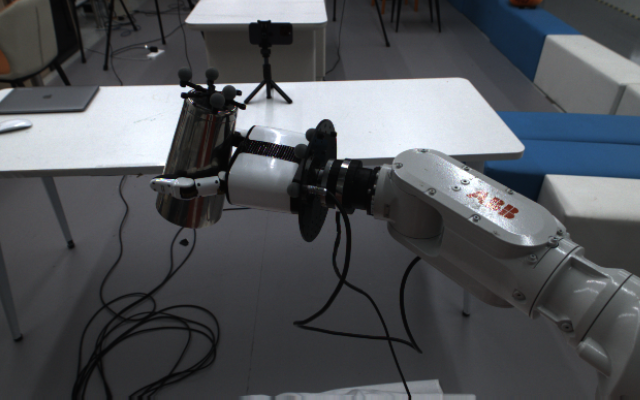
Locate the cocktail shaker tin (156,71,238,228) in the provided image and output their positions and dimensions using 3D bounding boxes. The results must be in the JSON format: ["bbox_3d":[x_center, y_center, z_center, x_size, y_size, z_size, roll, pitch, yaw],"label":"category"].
[{"bbox_3d":[-0.160,-0.059,0.644,0.093,0.170,0.093,16,31,-10],"label":"cocktail shaker tin"}]
